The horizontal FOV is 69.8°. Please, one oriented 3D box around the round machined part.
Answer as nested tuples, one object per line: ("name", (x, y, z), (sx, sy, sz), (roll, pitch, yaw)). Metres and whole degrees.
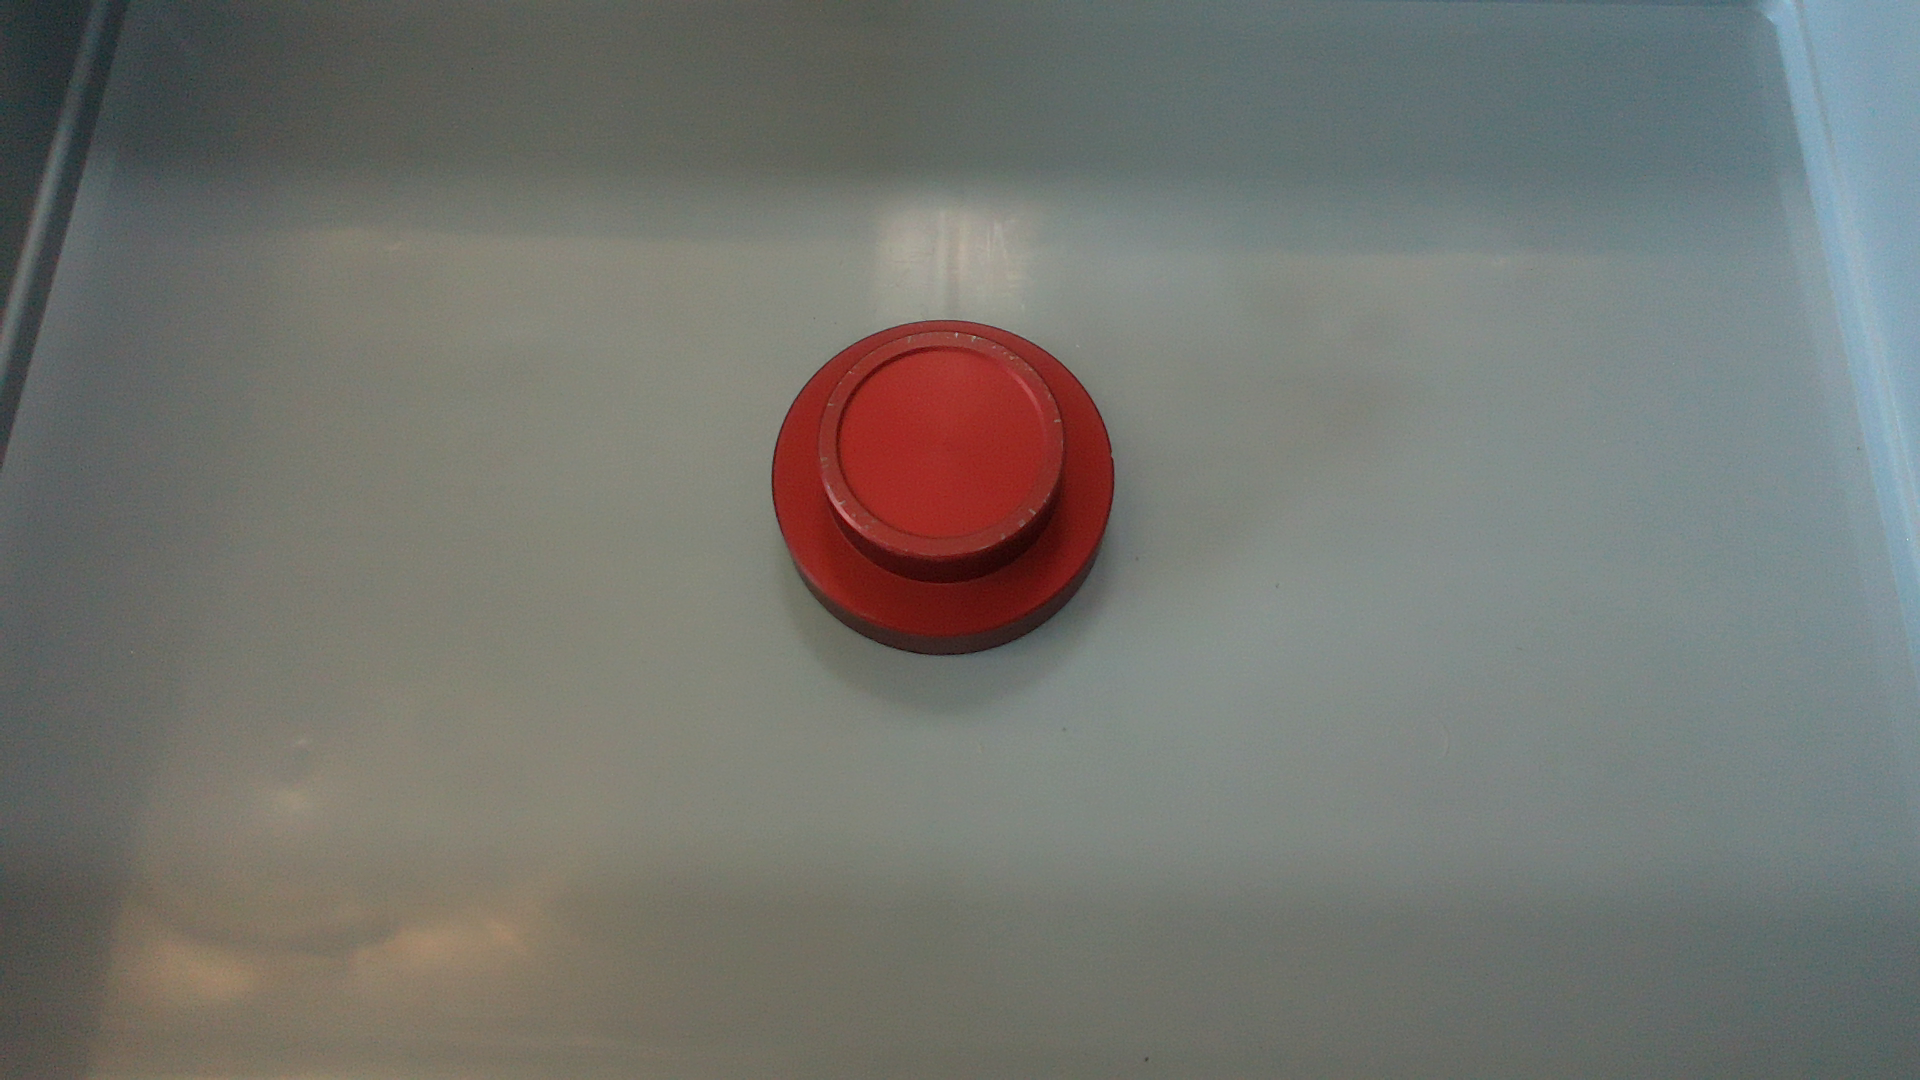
("round machined part", (-0.005, -0.020, 0.390), (0.098, 0.042, 0.098), (0, 70, 0))
